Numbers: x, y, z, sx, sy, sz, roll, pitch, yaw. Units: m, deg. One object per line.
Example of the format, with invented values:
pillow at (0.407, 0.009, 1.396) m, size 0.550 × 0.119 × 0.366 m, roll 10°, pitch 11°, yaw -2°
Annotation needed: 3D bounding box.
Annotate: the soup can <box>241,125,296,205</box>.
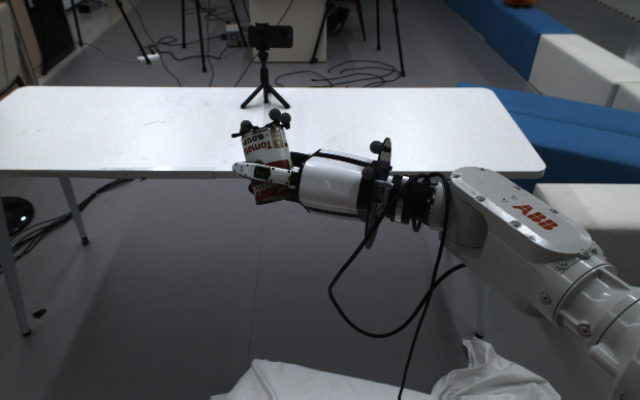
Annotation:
soup can at (-0.073, -0.048, 0.716) m, size 0.067 × 0.101 × 0.067 m, roll -14°, pitch -2°, yaw -1°
